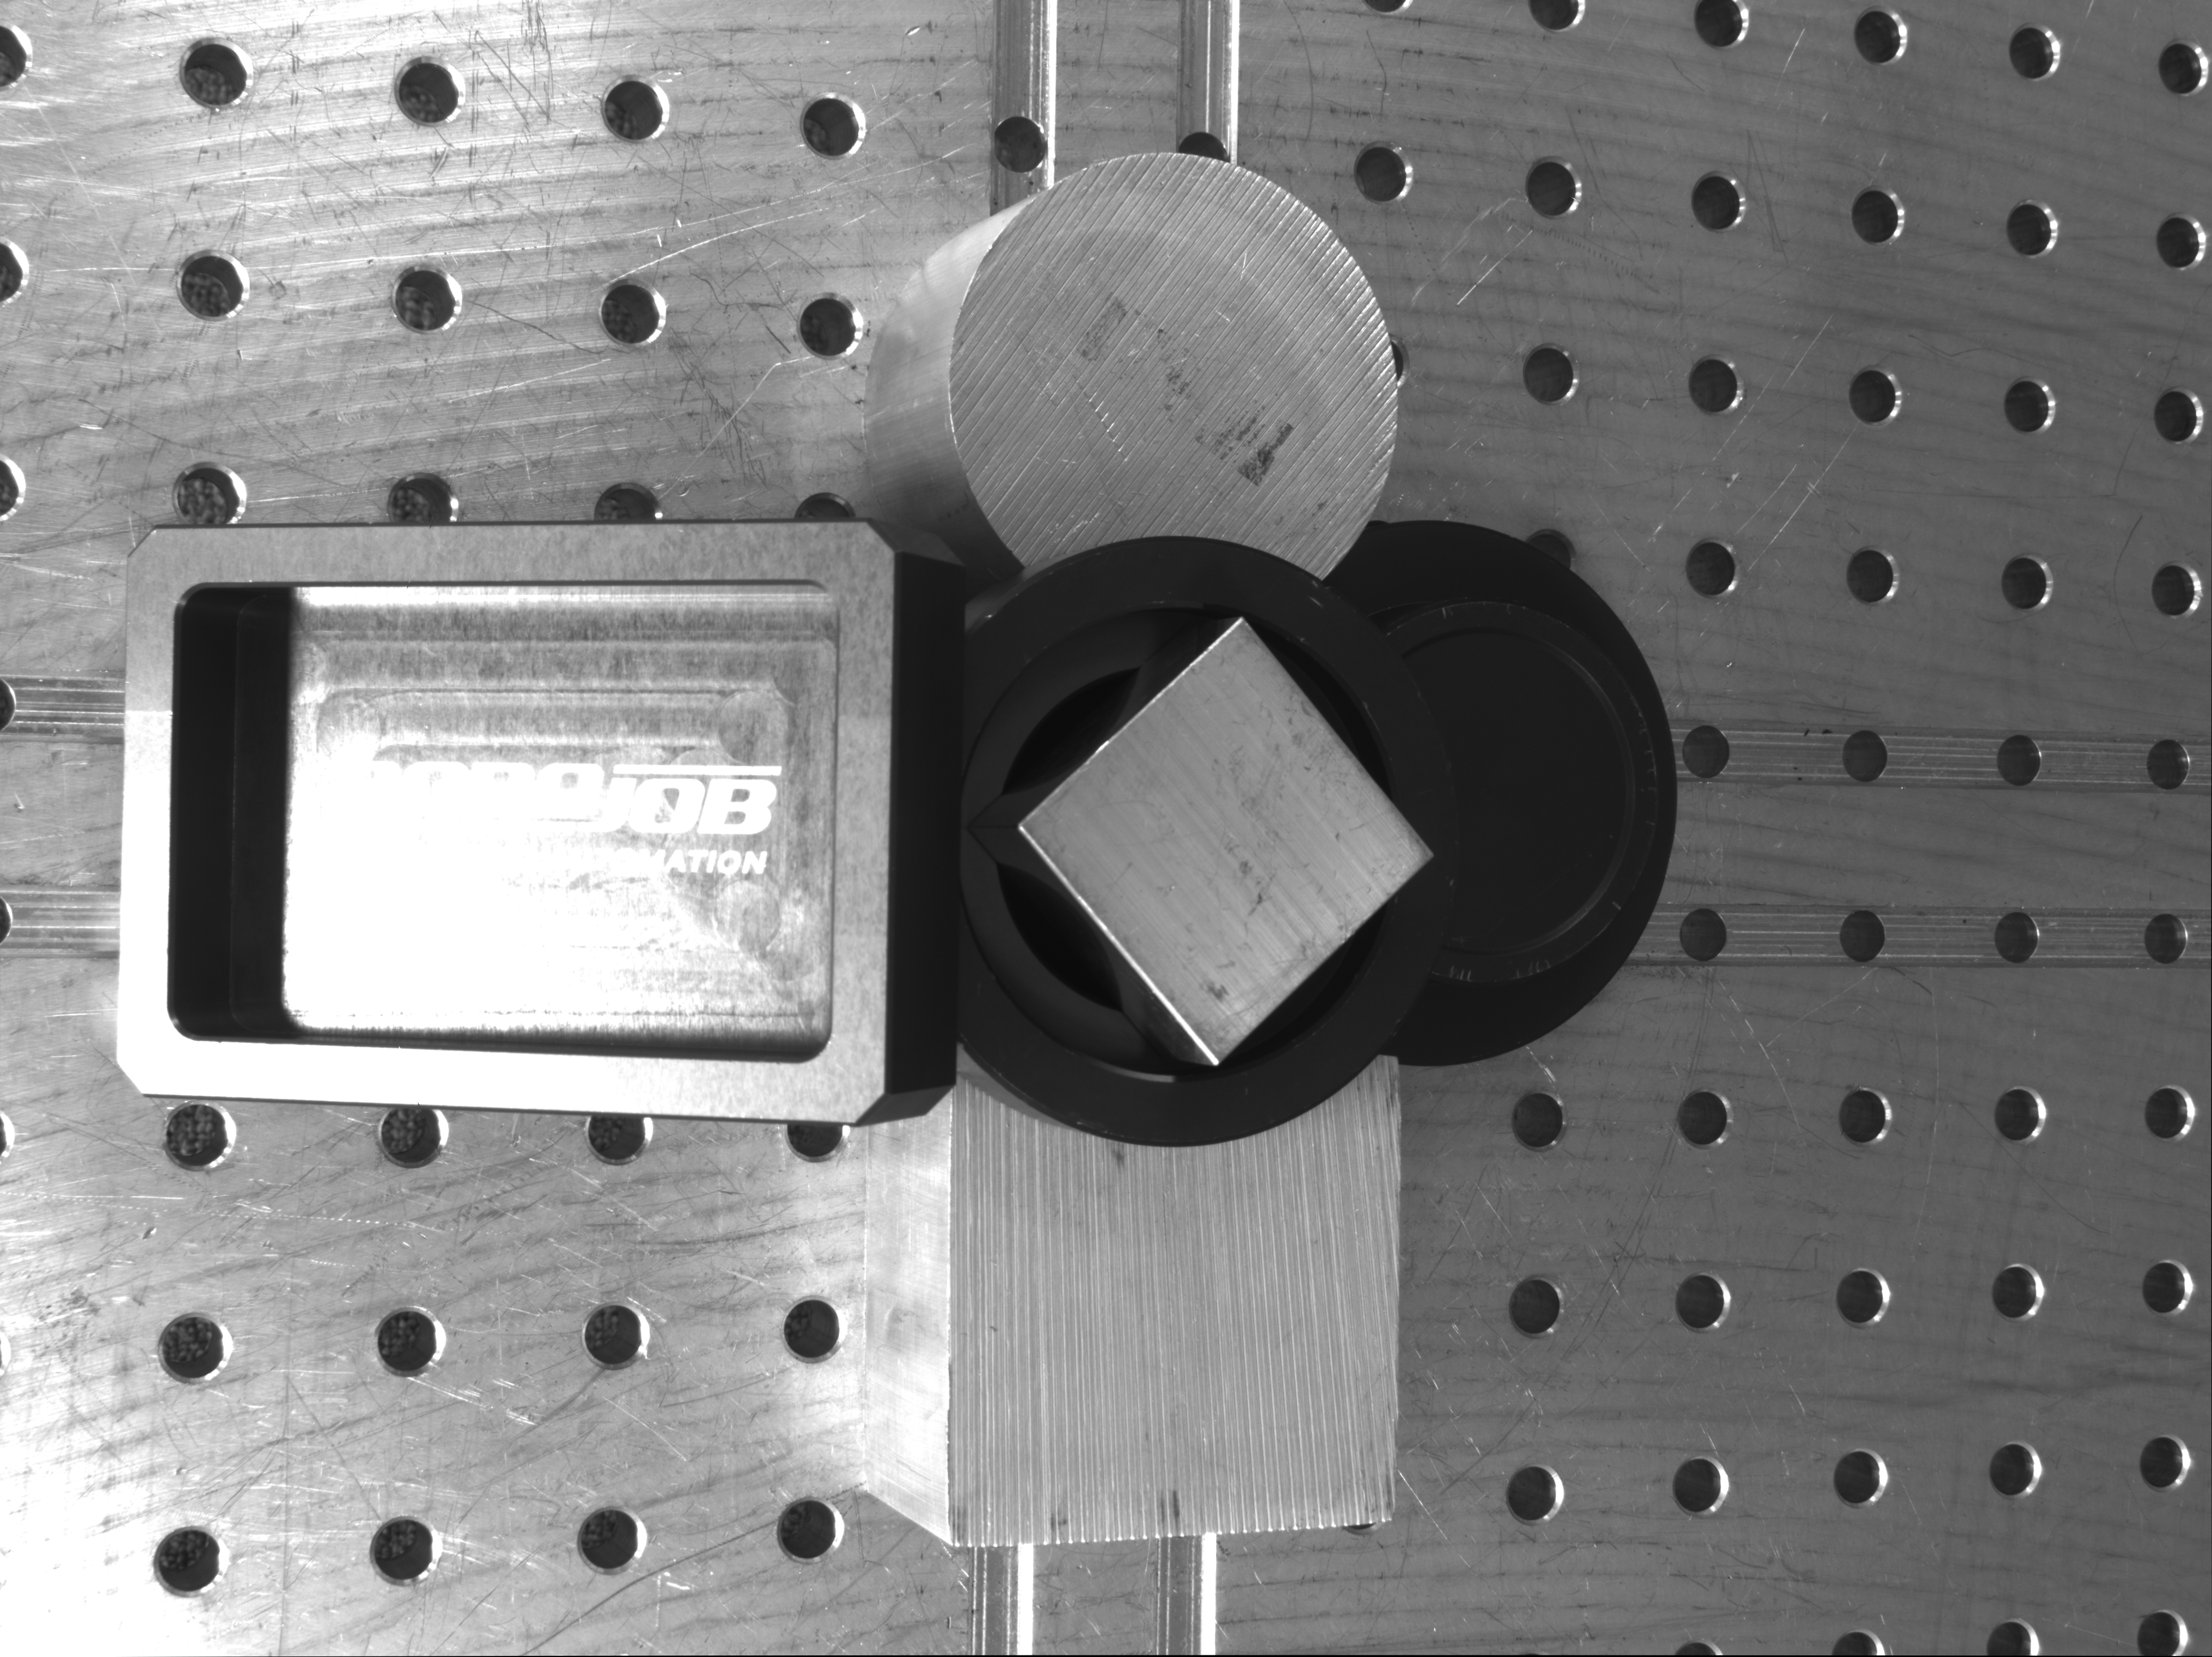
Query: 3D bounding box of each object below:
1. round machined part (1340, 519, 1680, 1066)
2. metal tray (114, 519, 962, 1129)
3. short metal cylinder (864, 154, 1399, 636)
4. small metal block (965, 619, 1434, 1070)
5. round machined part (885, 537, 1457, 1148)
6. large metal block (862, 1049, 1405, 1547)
[{"bbox_3d":[0.060,-0.006,0.657,0.098,0.042,0.098,0,90,-20],"label":"round machined part"},{"bbox_3d":[-0.089,-0.001,0.572,0.130,0.030,0.090,1,90,17],"label":"metal tray"},{"bbox_3d":[0.004,-0.072,0.633,0.080,0.050,0.080,0,90,-20],"label":"short metal cylinder"},{"bbox_3d":[0.015,0.003,0.585,0.050,0.025,0.050,-43,103,-15],"label":"small metal block"},{"bbox_3d":[0.005,0.002,0.607,0.098,0.042,0.098,0,90,-20],"label":"round machined part"},{"bbox_3d":[0.004,0.077,0.630,0.080,0.050,0.080,1,90,-20],"label":"large metal block"}]
